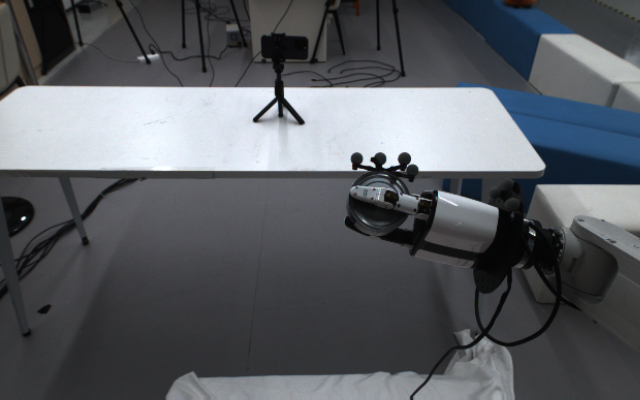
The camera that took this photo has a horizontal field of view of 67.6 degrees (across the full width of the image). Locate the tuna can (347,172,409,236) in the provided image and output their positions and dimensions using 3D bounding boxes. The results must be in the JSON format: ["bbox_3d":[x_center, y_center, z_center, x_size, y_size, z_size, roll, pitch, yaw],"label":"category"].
[{"bbox_3d":[0.080,0.001,0.661,0.085,0.034,0.085,1,72,-3],"label":"tuna can"}]
